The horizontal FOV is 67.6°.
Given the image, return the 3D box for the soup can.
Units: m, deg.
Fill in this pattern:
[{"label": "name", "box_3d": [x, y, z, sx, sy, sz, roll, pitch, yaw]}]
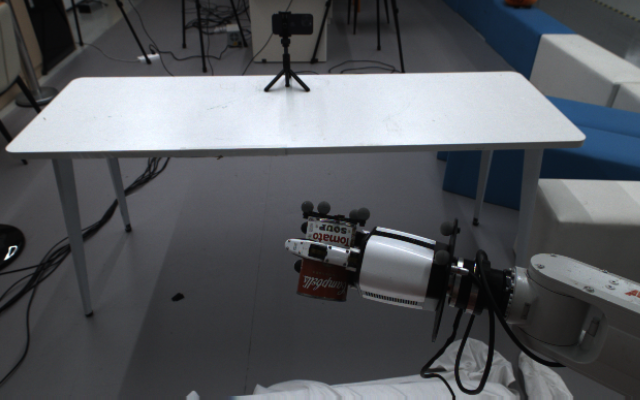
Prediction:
[{"label": "soup can", "box_3d": [0.011, 0.079, 0.643, 0.067, 0.101, 0.067, 9, -6, 1]}]
